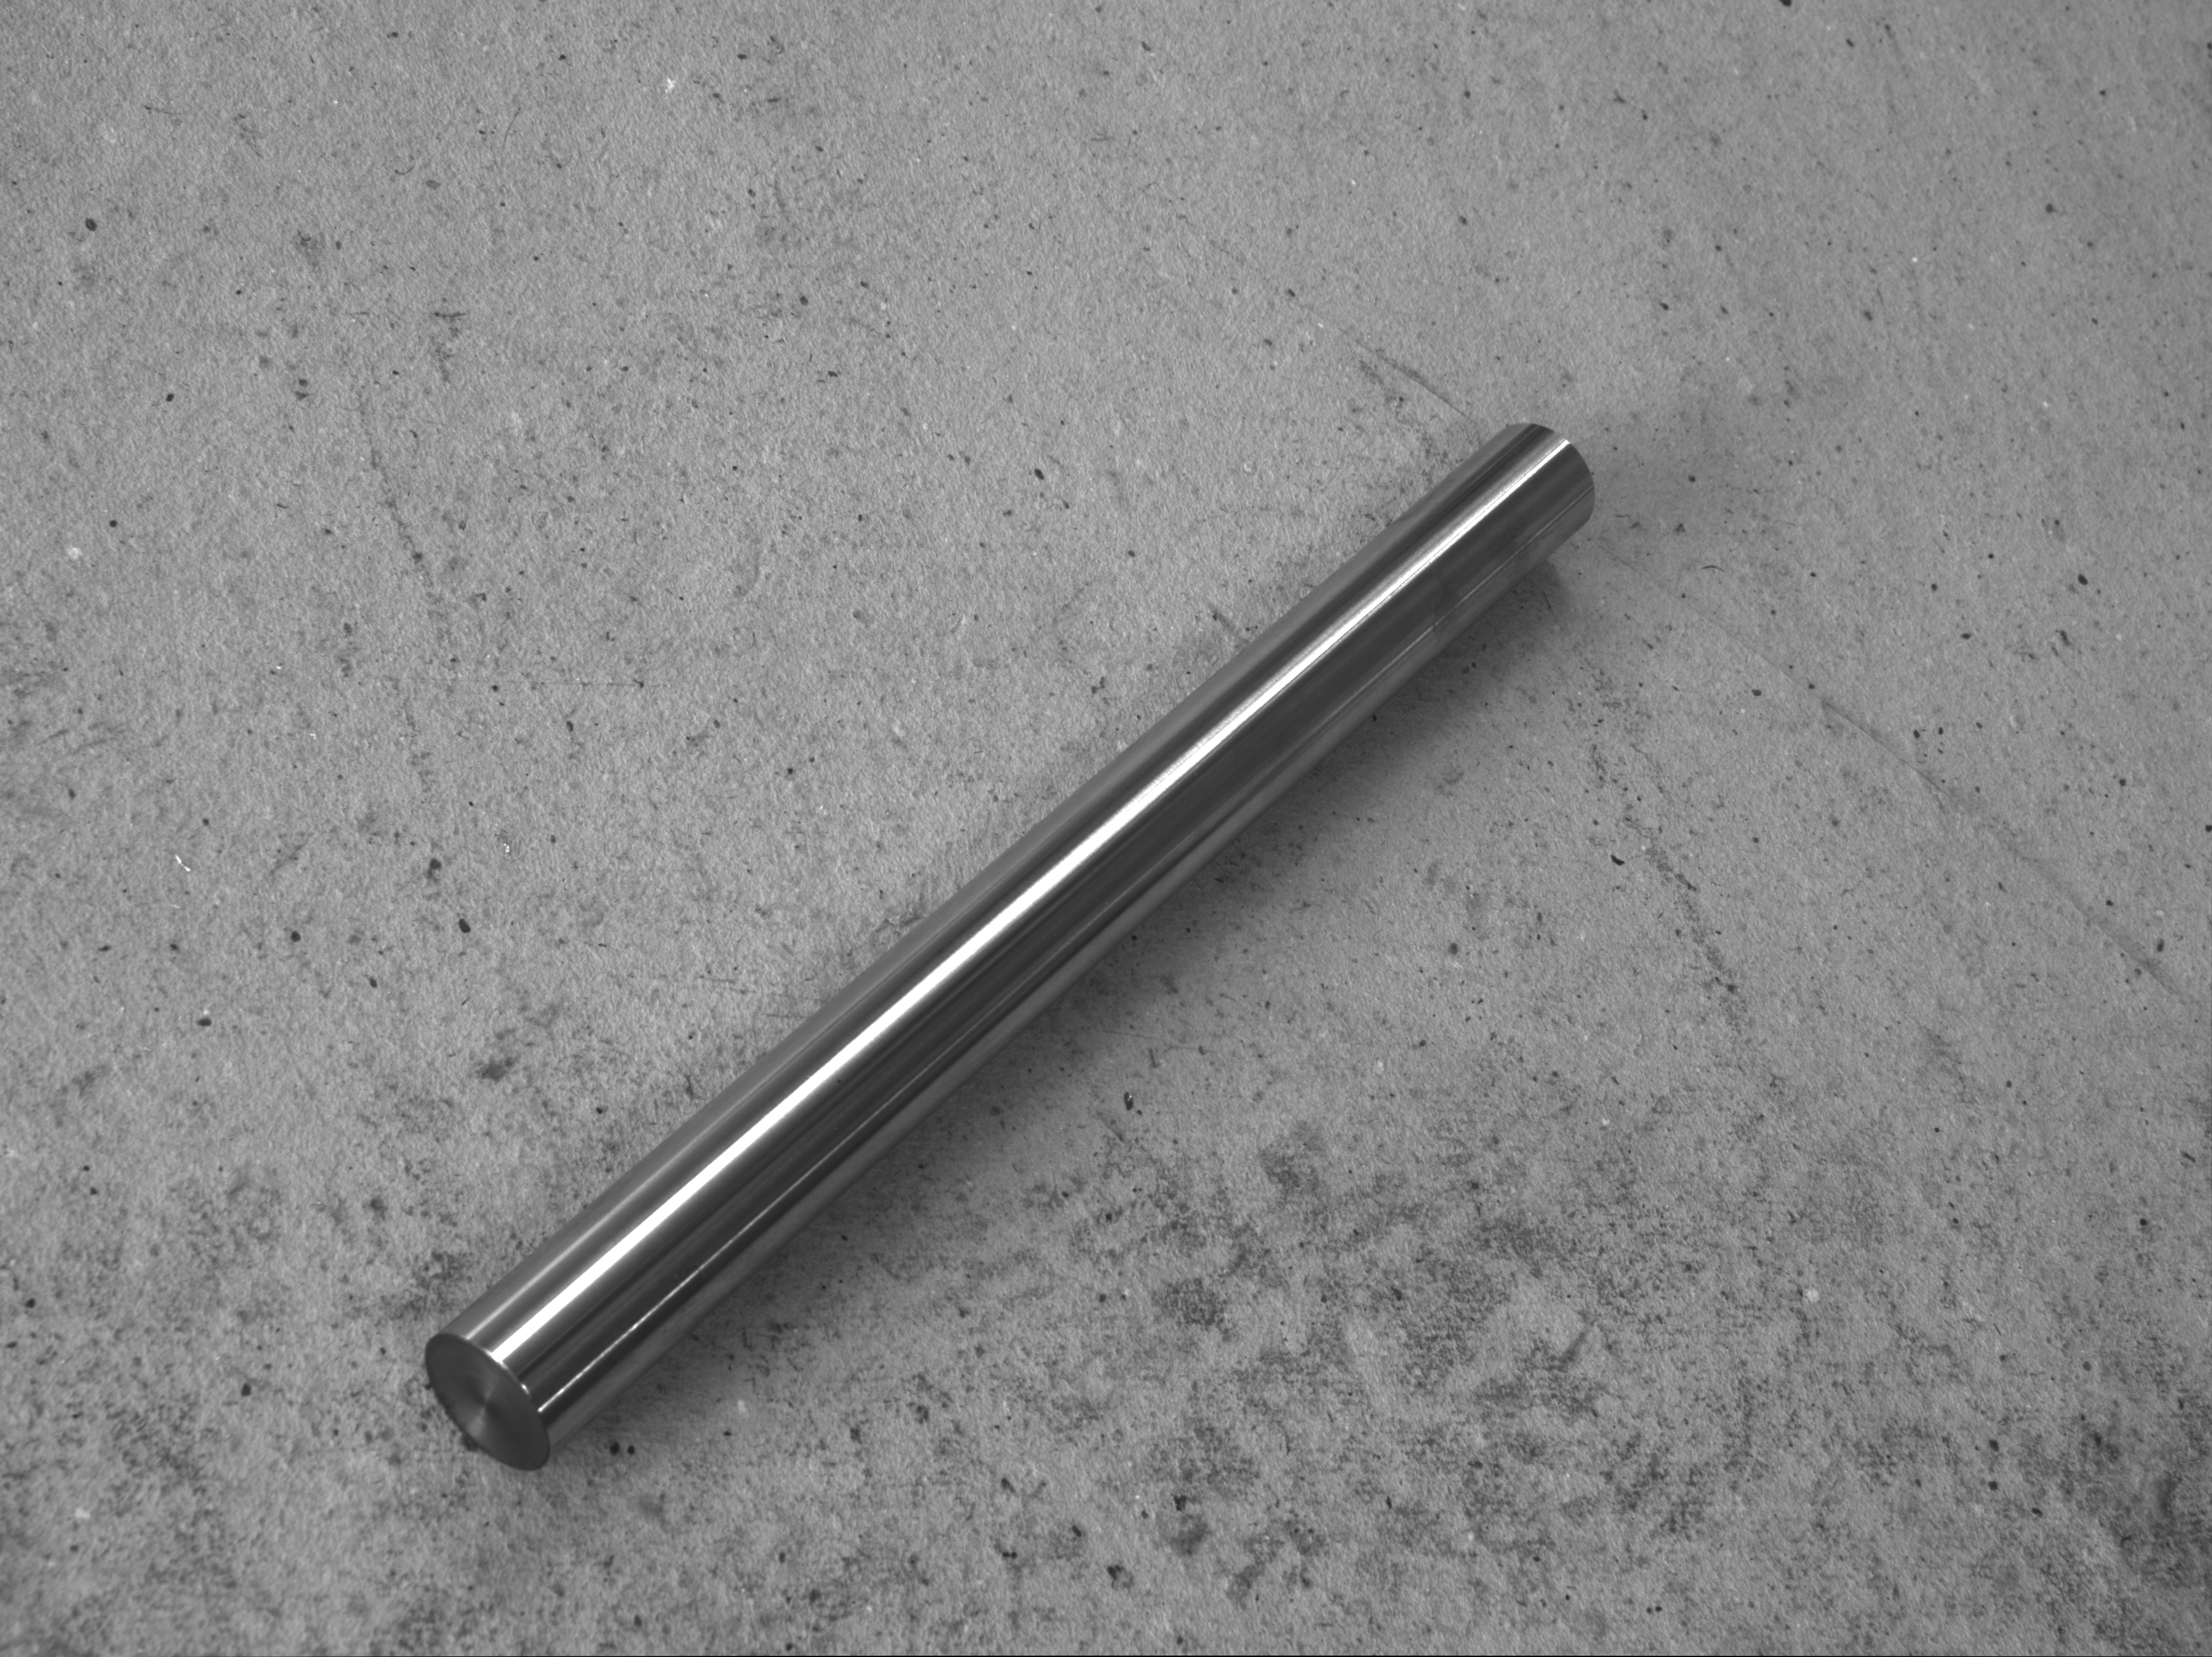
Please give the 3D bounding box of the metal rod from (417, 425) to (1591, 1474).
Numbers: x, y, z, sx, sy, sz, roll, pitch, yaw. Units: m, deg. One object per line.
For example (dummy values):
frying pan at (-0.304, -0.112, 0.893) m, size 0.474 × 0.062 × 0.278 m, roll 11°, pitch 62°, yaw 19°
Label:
metal rod at (-0.003, 0.008, 0.633) m, size 0.025 × 0.025 × 0.301 m, roll 46°, pitch 51°, yaw 4°
